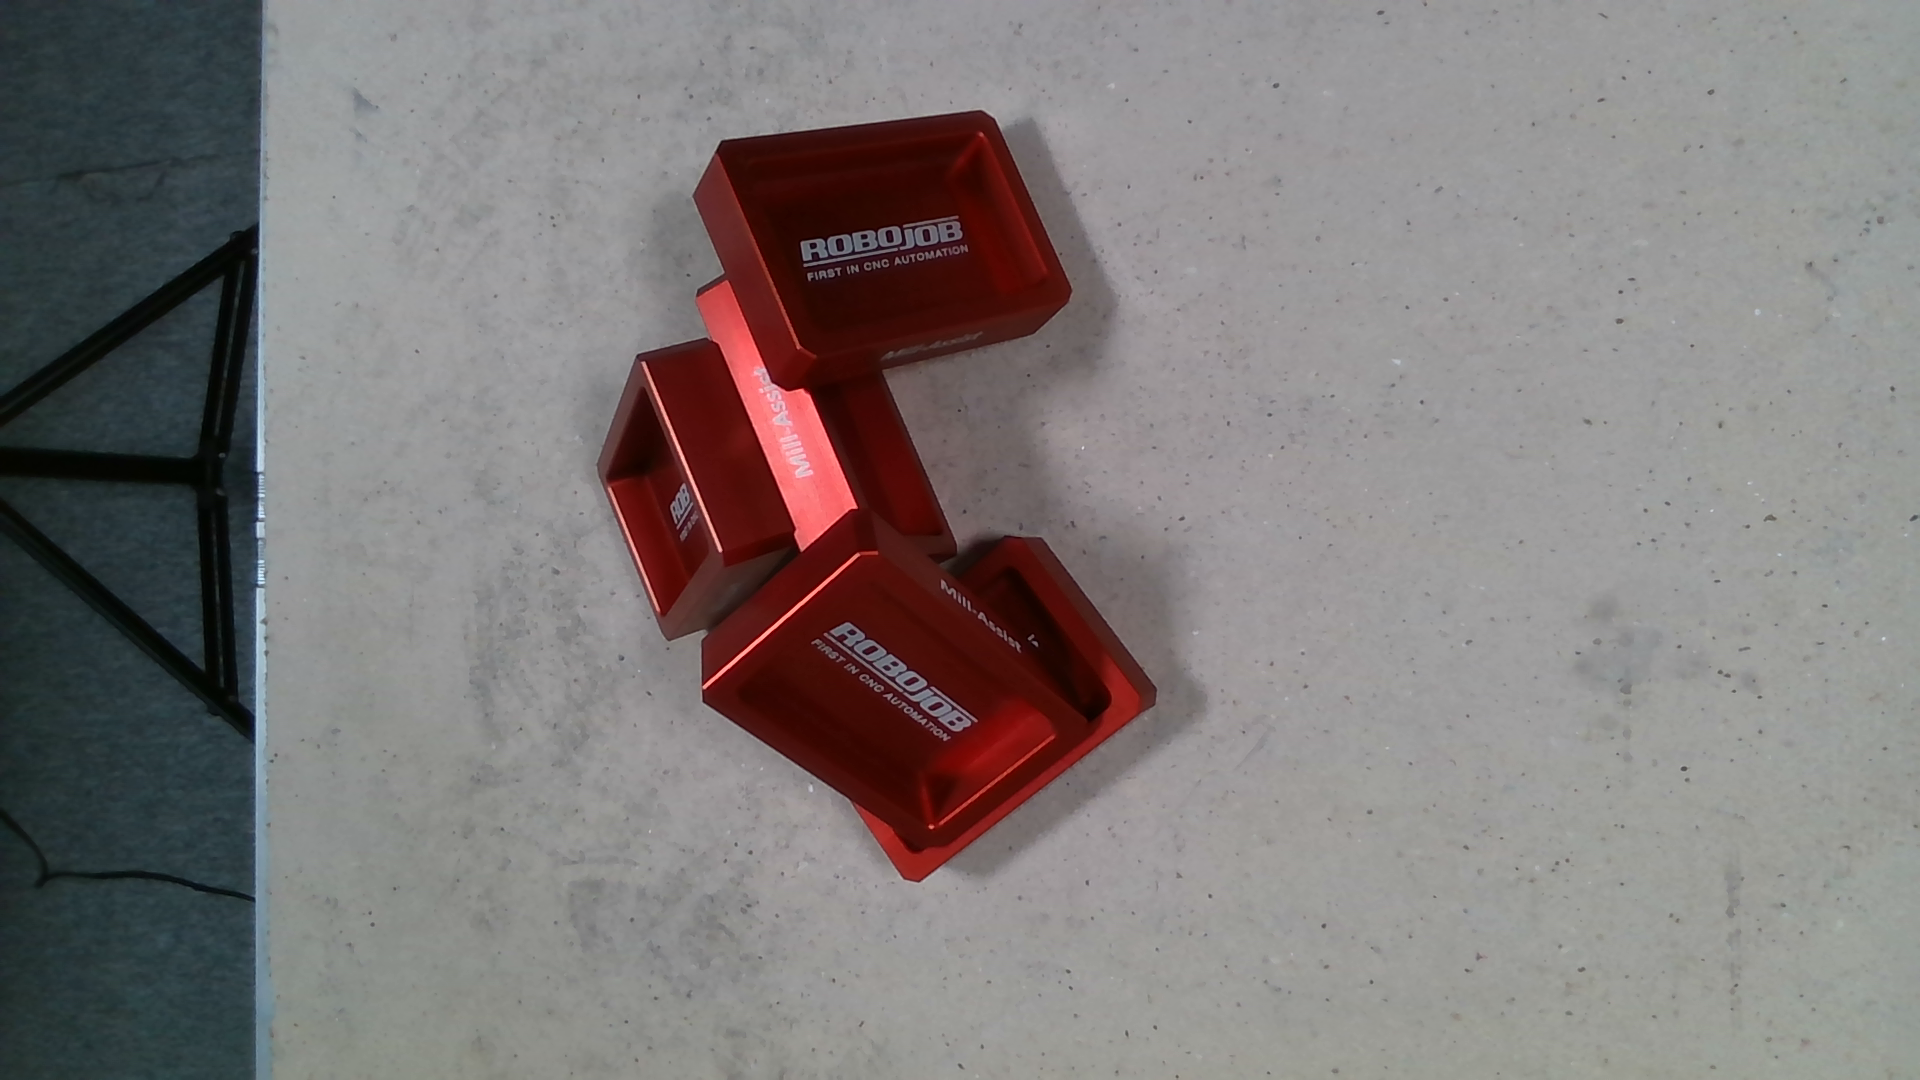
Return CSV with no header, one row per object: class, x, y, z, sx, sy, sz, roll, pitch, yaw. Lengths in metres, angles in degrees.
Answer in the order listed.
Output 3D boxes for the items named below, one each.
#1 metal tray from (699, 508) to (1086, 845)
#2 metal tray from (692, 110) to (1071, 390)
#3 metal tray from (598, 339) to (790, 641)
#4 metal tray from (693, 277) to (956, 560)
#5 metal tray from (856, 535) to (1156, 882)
metal tray,-0.025,0.057,0.536,0.090,0.030,0.130,-40,122,17
metal tray,-0.029,-0.117,0.545,0.030,0.130,0.090,-35,76,56
metal tray,-0.117,-0.017,0.582,0.090,0.030,0.130,67,154,8
metal tray,-0.053,-0.046,0.570,0.030,0.090,0.130,-26,81,18
metal tray,0.005,0.070,0.582,0.130,0.030,0.090,-40,77,16
